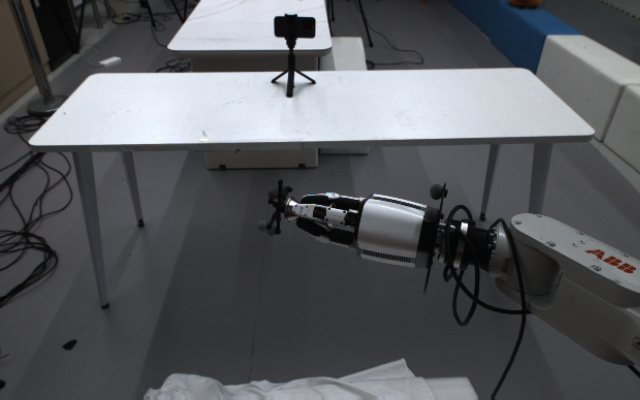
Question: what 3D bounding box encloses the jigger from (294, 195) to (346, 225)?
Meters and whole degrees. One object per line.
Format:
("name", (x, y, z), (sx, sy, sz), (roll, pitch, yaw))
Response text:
("jigger", (-0.009, 0.016, 0.725), (0.071, 0.043, 0.043), (10, 35, 16))
